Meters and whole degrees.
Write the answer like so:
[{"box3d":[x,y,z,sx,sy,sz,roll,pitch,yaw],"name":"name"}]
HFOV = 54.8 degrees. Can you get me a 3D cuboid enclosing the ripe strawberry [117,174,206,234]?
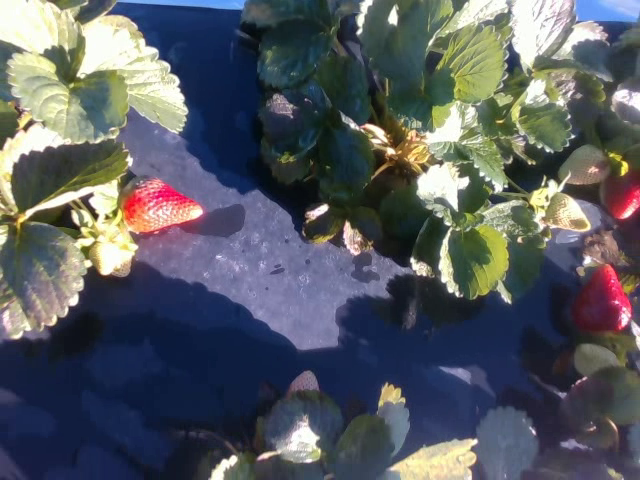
[{"box3d":[-0.113,-0.025,0.438,0.064,0.050,0.052,5,18,-7],"name":"ripe strawberry"}]
